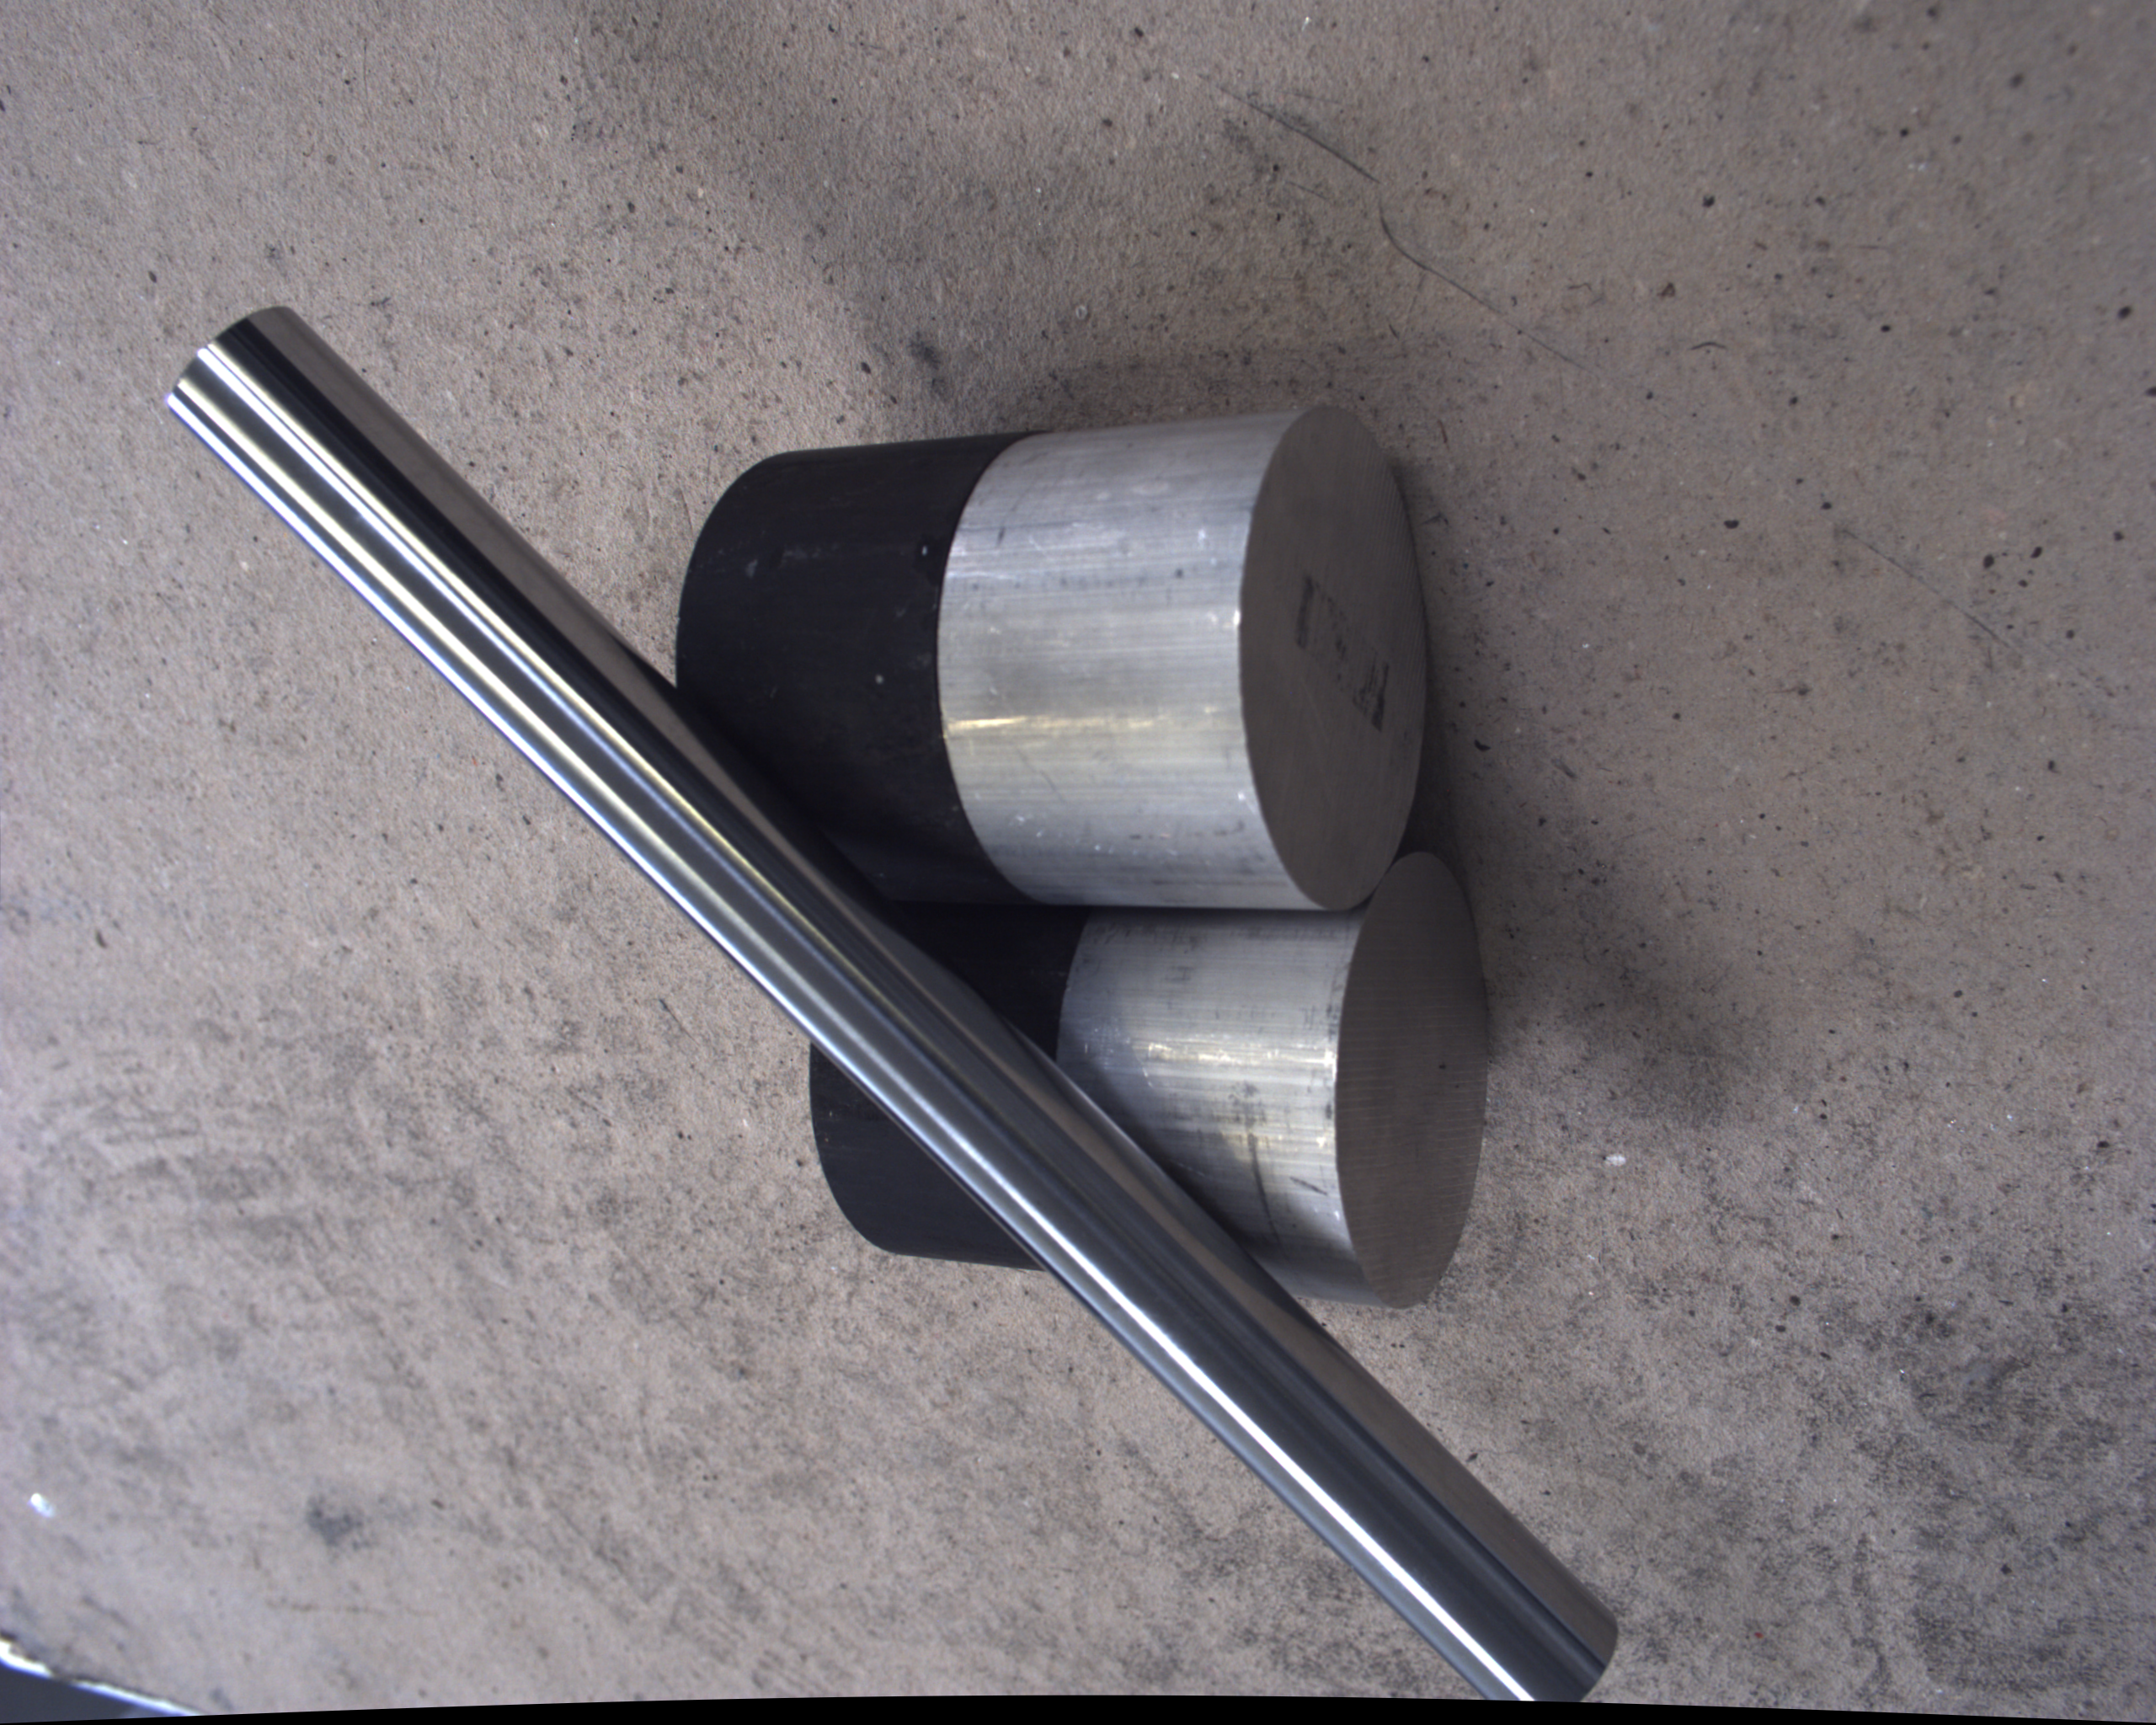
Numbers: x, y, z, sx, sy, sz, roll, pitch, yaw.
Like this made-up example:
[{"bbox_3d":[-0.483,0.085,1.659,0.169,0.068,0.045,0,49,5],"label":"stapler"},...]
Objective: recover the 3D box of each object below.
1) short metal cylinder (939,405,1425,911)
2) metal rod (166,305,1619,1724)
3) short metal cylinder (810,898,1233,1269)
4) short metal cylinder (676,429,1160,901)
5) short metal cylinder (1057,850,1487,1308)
[{"bbox_3d":[0.020,-0.032,0.343,0.050,0.080,0.080,1,119,28],"label":"short metal cylinder"},{"bbox_3d":[-0.026,0.028,0.336,0.300,0.025,0.025,45,129,-4],"label":"metal rod"},{"bbox_3d":[-0.007,0.037,0.400,0.050,0.080,0.080,1,119,28],"label":"short metal cylinder"},{"bbox_3d":[-0.025,-0.033,0.365,0.050,0.080,0.080,1,119,28],"label":"short metal cylinder"},{"bbox_3d":[0.037,0.037,0.376,0.050,0.080,0.080,1,119,28],"label":"short metal cylinder"}]
